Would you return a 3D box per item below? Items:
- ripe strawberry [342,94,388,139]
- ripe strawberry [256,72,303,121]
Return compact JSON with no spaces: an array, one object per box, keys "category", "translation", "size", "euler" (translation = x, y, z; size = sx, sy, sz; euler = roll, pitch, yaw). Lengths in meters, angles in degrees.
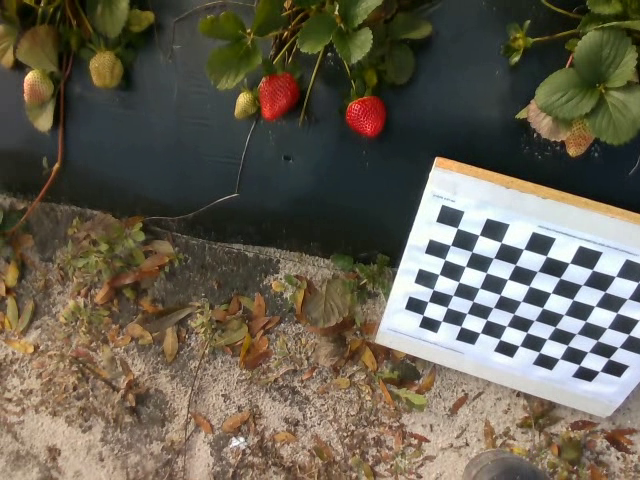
[{"category":"ripe strawberry","translation":[0.034,-0.087,0.463],"size":[0.033,0.039,0.038],"euler":[11,-36,-12]},{"category":"ripe strawberry","translation":[-0.033,-0.103,0.473],"size":[0.035,0.036,0.041],"euler":[9,-25,21]}]
